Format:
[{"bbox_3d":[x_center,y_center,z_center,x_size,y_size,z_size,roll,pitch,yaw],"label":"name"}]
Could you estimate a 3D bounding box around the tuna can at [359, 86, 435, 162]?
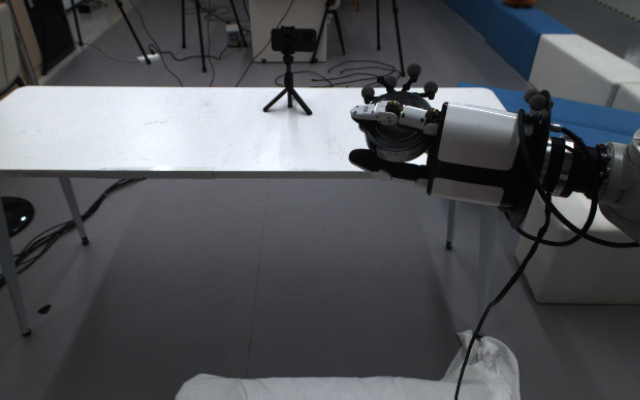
[{"bbox_3d":[0.096,-0.090,0.597,0.085,0.034,0.085,-6,61,10],"label":"tuna can"}]
